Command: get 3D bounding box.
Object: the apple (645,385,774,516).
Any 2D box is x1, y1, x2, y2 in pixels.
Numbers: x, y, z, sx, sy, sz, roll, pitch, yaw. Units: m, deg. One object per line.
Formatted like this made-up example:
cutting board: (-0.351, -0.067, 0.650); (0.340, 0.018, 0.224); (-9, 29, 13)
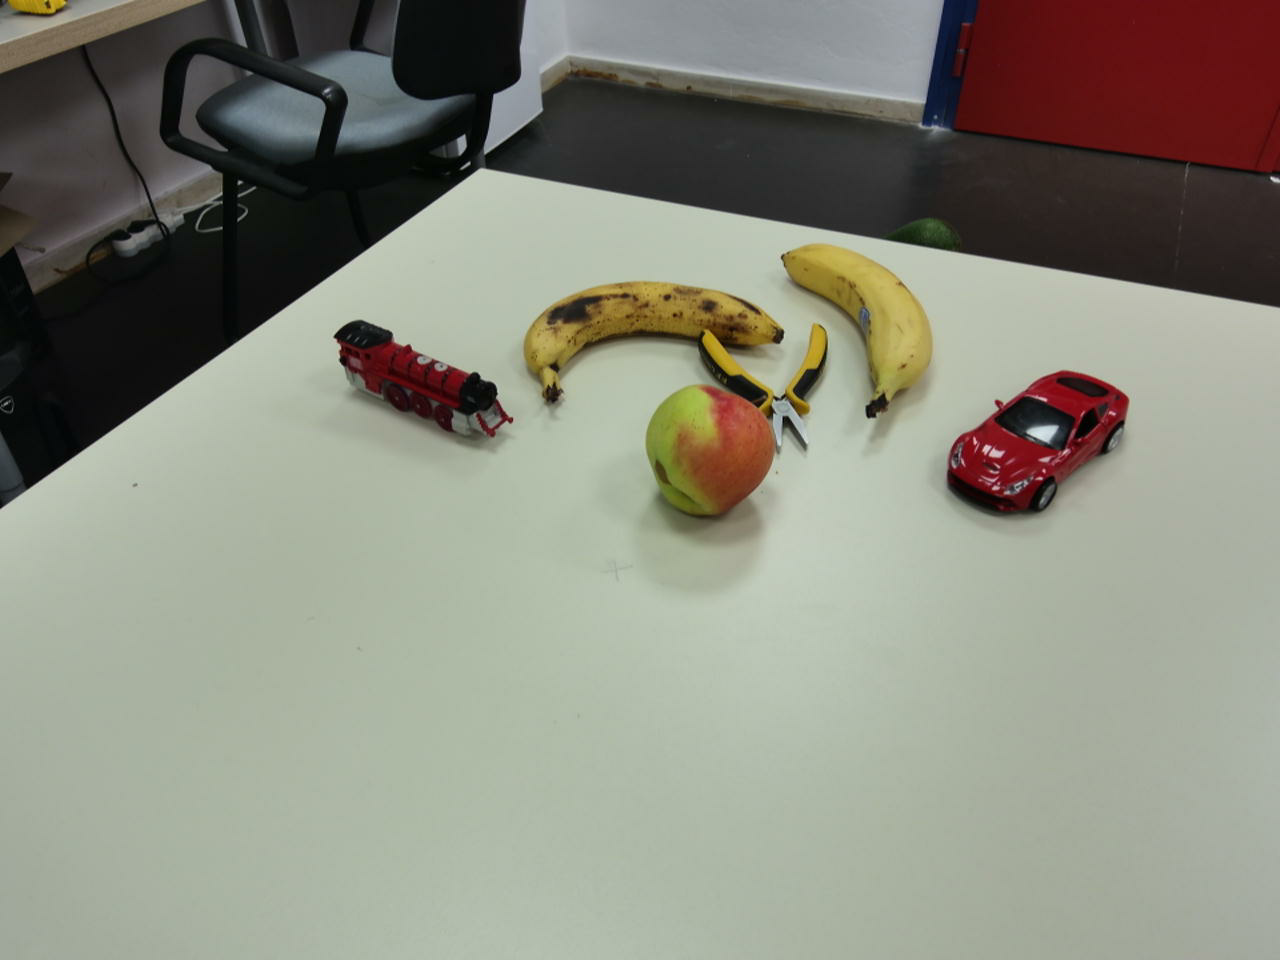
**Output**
apple: (0.040, -0.018, 0.589); (0.075, 0.074, 0.075); (2, 38, 4)
